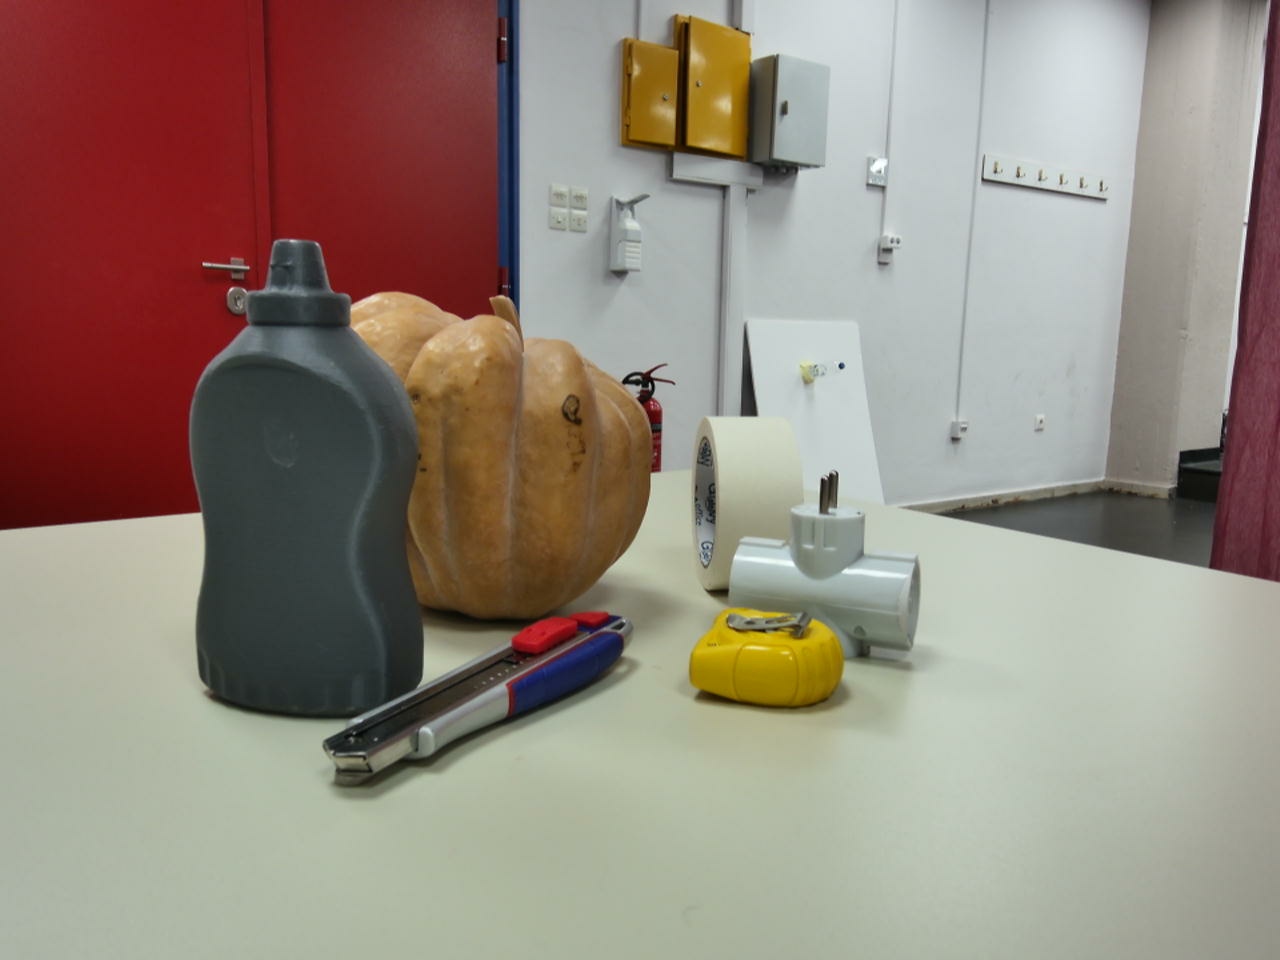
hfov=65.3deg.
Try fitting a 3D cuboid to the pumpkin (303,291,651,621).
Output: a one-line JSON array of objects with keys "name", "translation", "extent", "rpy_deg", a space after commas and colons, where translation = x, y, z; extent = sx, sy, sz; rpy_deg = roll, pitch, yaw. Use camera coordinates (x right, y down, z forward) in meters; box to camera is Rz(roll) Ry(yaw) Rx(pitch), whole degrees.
[{"name": "pumpkin", "translation": [-0.089, -0.015, 0.560], "extent": [0.199, 0.177, 0.198], "rpy_deg": [1, 7, 0]}]
